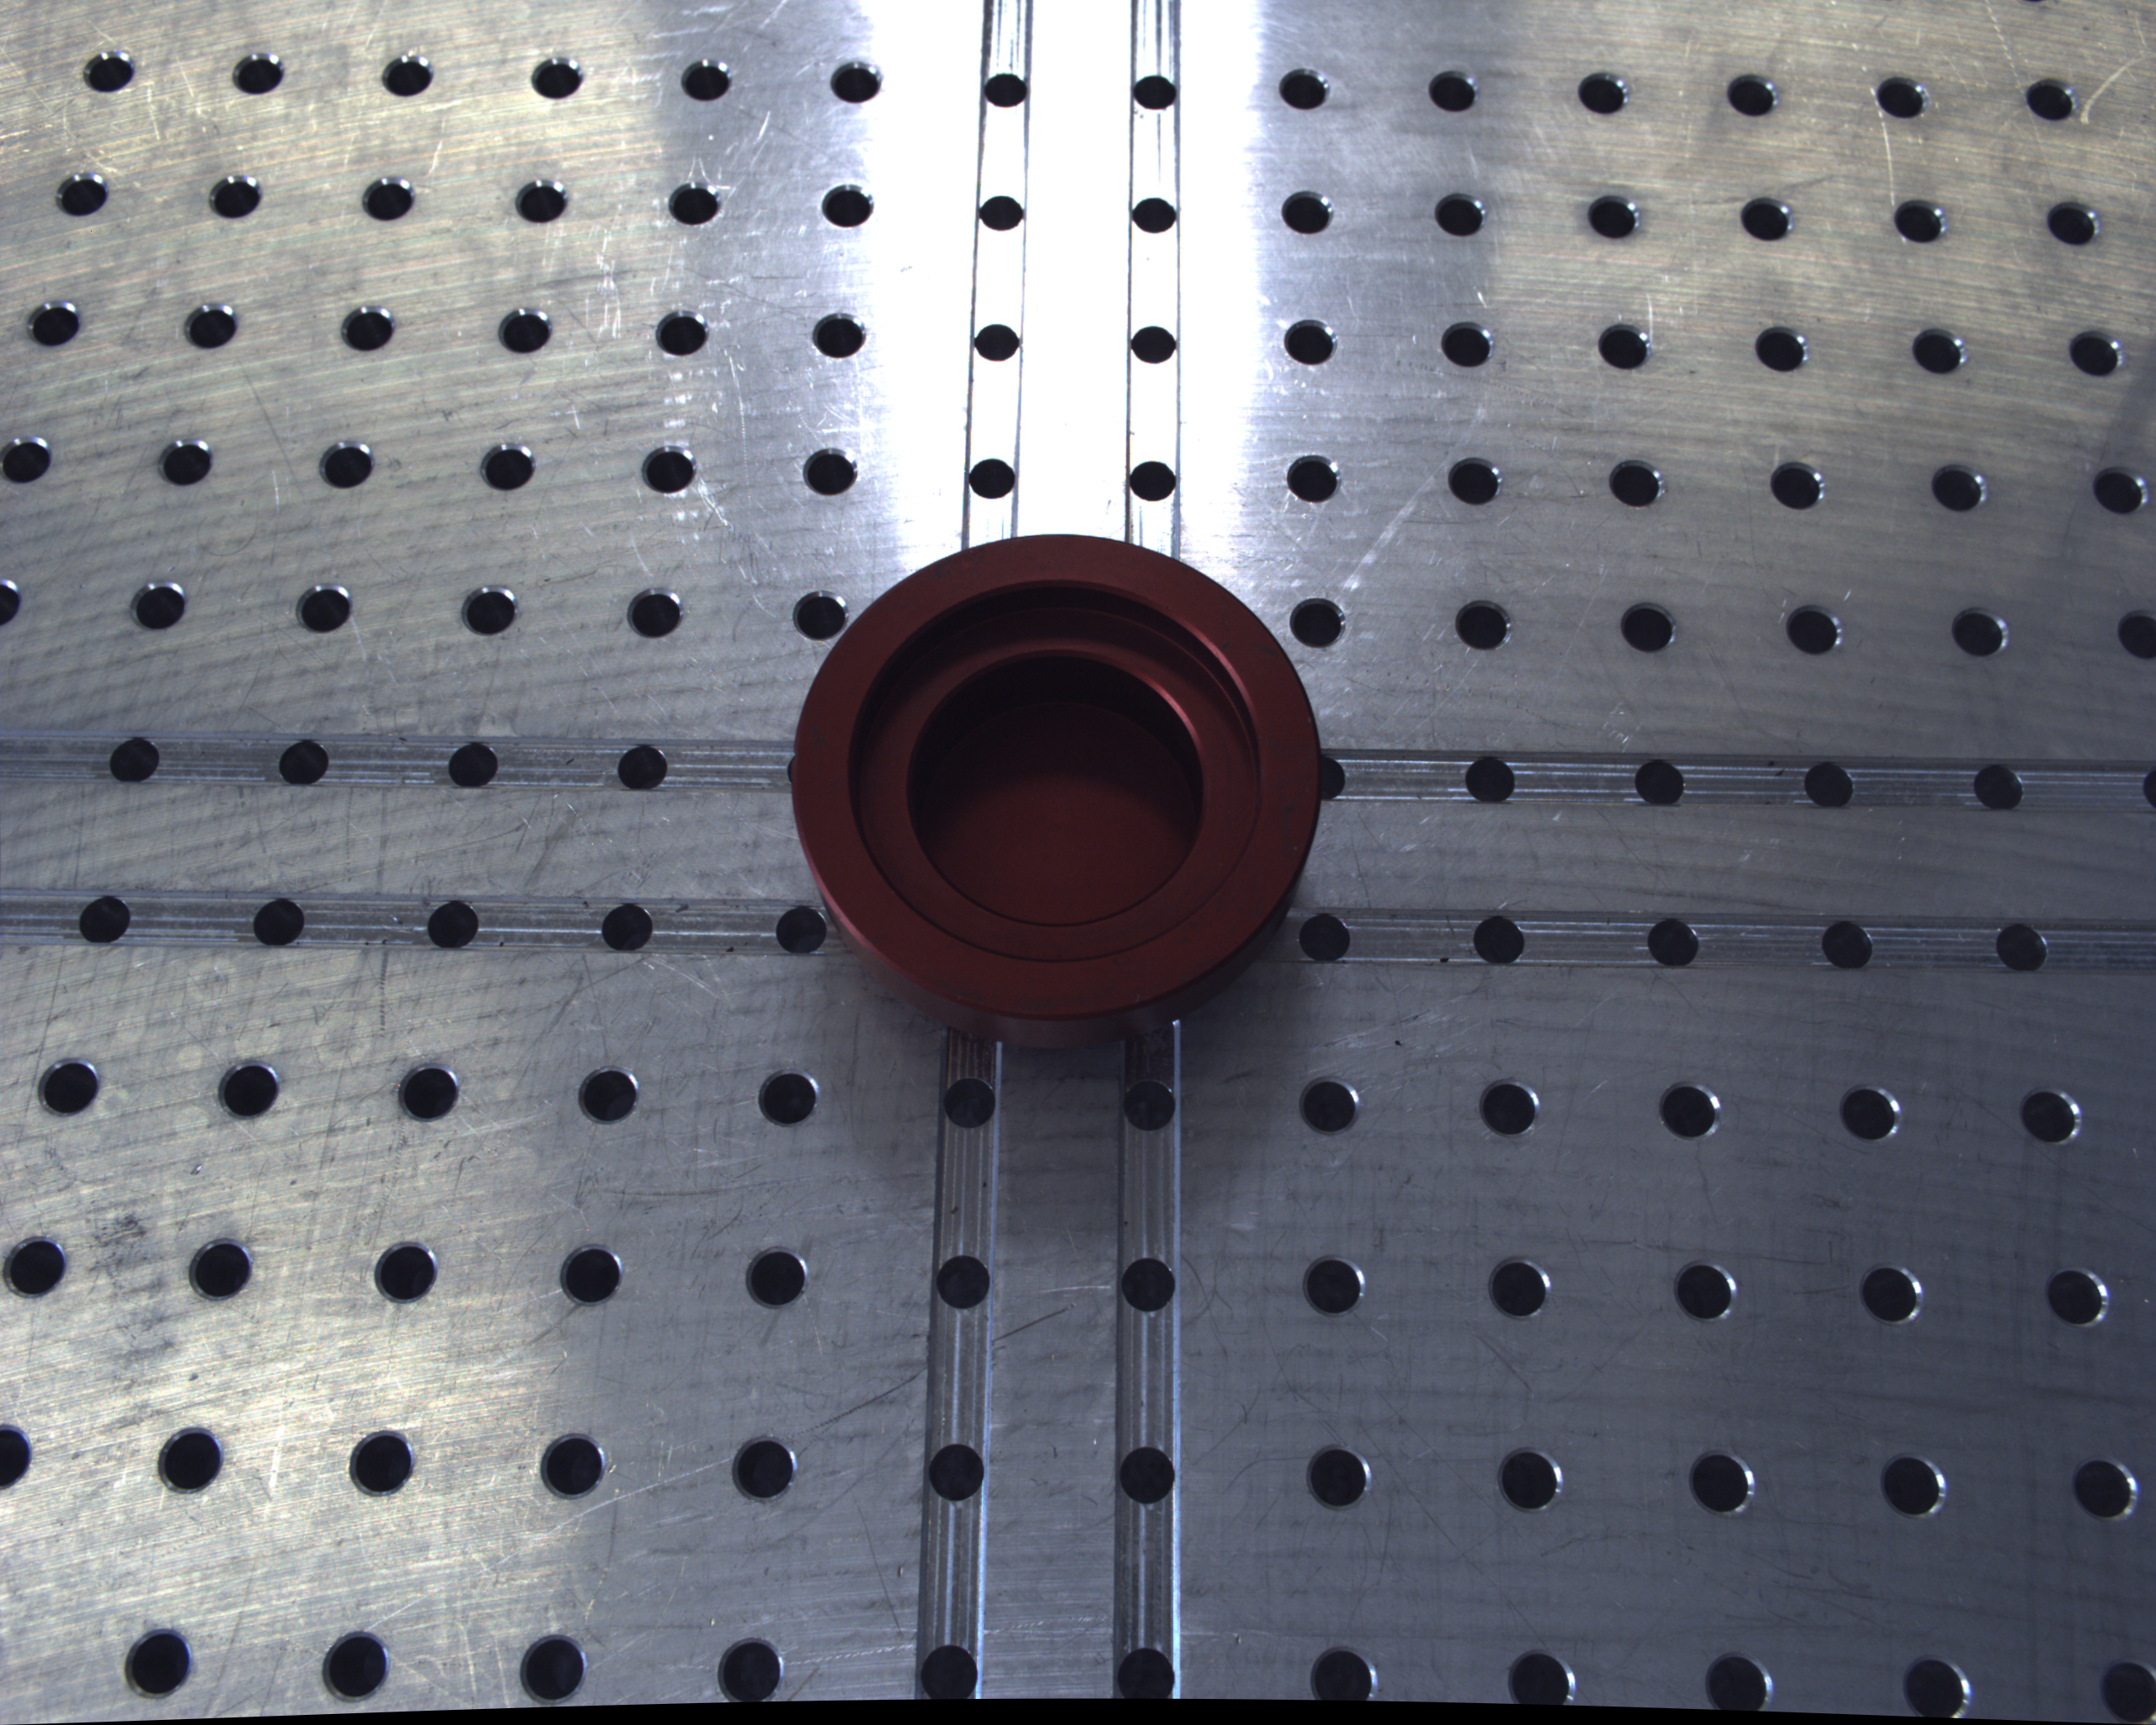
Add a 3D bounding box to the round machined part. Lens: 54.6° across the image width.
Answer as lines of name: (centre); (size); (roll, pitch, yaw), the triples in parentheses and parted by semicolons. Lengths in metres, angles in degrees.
round machined part: (-0.004, -0.011, 0.406); (0.099, 0.042, 0.098); (0, 70, 0)
